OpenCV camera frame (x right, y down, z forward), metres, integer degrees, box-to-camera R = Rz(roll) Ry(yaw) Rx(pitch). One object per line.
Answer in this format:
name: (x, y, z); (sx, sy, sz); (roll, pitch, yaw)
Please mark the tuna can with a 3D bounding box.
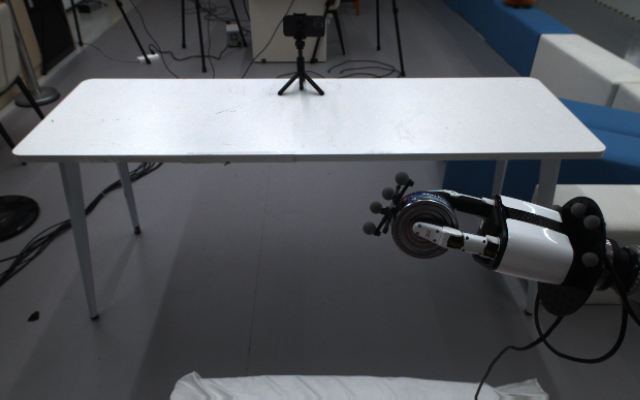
tuna can: (0.139, 0.030, 0.635); (0.085, 0.085, 0.034); (3, 20, 1)
